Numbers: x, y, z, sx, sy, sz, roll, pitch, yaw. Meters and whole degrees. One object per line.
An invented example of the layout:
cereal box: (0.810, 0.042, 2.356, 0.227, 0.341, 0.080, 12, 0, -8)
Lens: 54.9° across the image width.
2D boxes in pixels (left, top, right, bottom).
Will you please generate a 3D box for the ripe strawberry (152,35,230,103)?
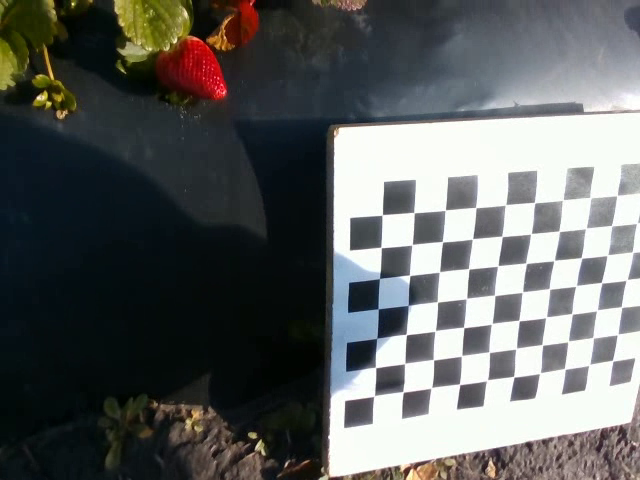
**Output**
ripe strawberry: (-0.079, -0.103, 0.388, 0.056, 0.041, 0.040, 41, 6, 23)
